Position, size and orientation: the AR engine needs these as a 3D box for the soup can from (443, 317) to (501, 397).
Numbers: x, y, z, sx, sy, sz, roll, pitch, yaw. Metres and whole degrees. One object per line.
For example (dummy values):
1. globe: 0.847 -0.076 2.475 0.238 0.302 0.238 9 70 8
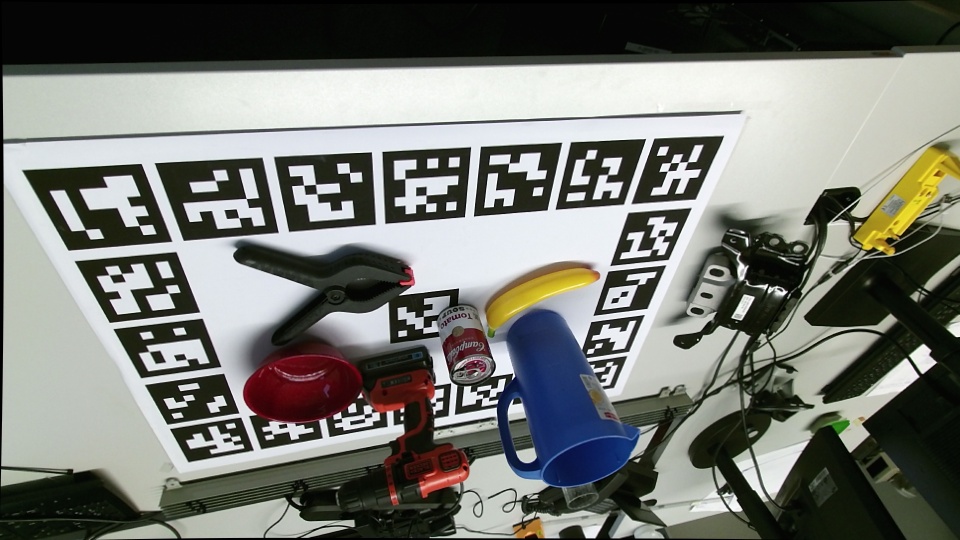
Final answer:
1. soup can: -0.012 0.129 0.790 0.068 0.101 0.068 -12 141 -10

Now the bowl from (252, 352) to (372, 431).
1. bowl: -0.240 0.170 0.774 0.162 0.055 0.162 -10 131 -12

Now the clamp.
1. clamp: -0.171 0.041 0.689 0.203 0.036 0.165 -8 128 -13

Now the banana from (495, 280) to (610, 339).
1. banana: 0.103 0.056 0.813 0.198 0.038 0.074 -24 142 4

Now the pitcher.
1. pitcher: 0.118 0.207 0.809 0.189 0.241 0.133 -25 137 2

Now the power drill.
1. power drill: -0.117 0.255 0.778 0.185 0.186 0.057 -10 132 -11
